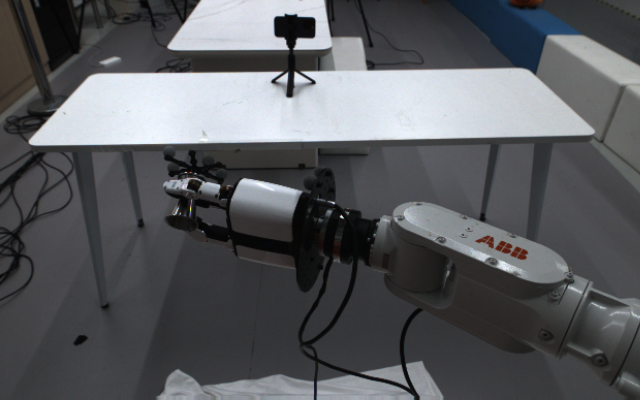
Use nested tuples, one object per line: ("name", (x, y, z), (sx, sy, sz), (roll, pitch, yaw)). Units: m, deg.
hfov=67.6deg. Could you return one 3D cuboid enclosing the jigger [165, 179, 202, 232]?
("jigger", (-0.181, 0.000, 0.652), (0.043, 0.043, 0.071), (4, 61, 2))
